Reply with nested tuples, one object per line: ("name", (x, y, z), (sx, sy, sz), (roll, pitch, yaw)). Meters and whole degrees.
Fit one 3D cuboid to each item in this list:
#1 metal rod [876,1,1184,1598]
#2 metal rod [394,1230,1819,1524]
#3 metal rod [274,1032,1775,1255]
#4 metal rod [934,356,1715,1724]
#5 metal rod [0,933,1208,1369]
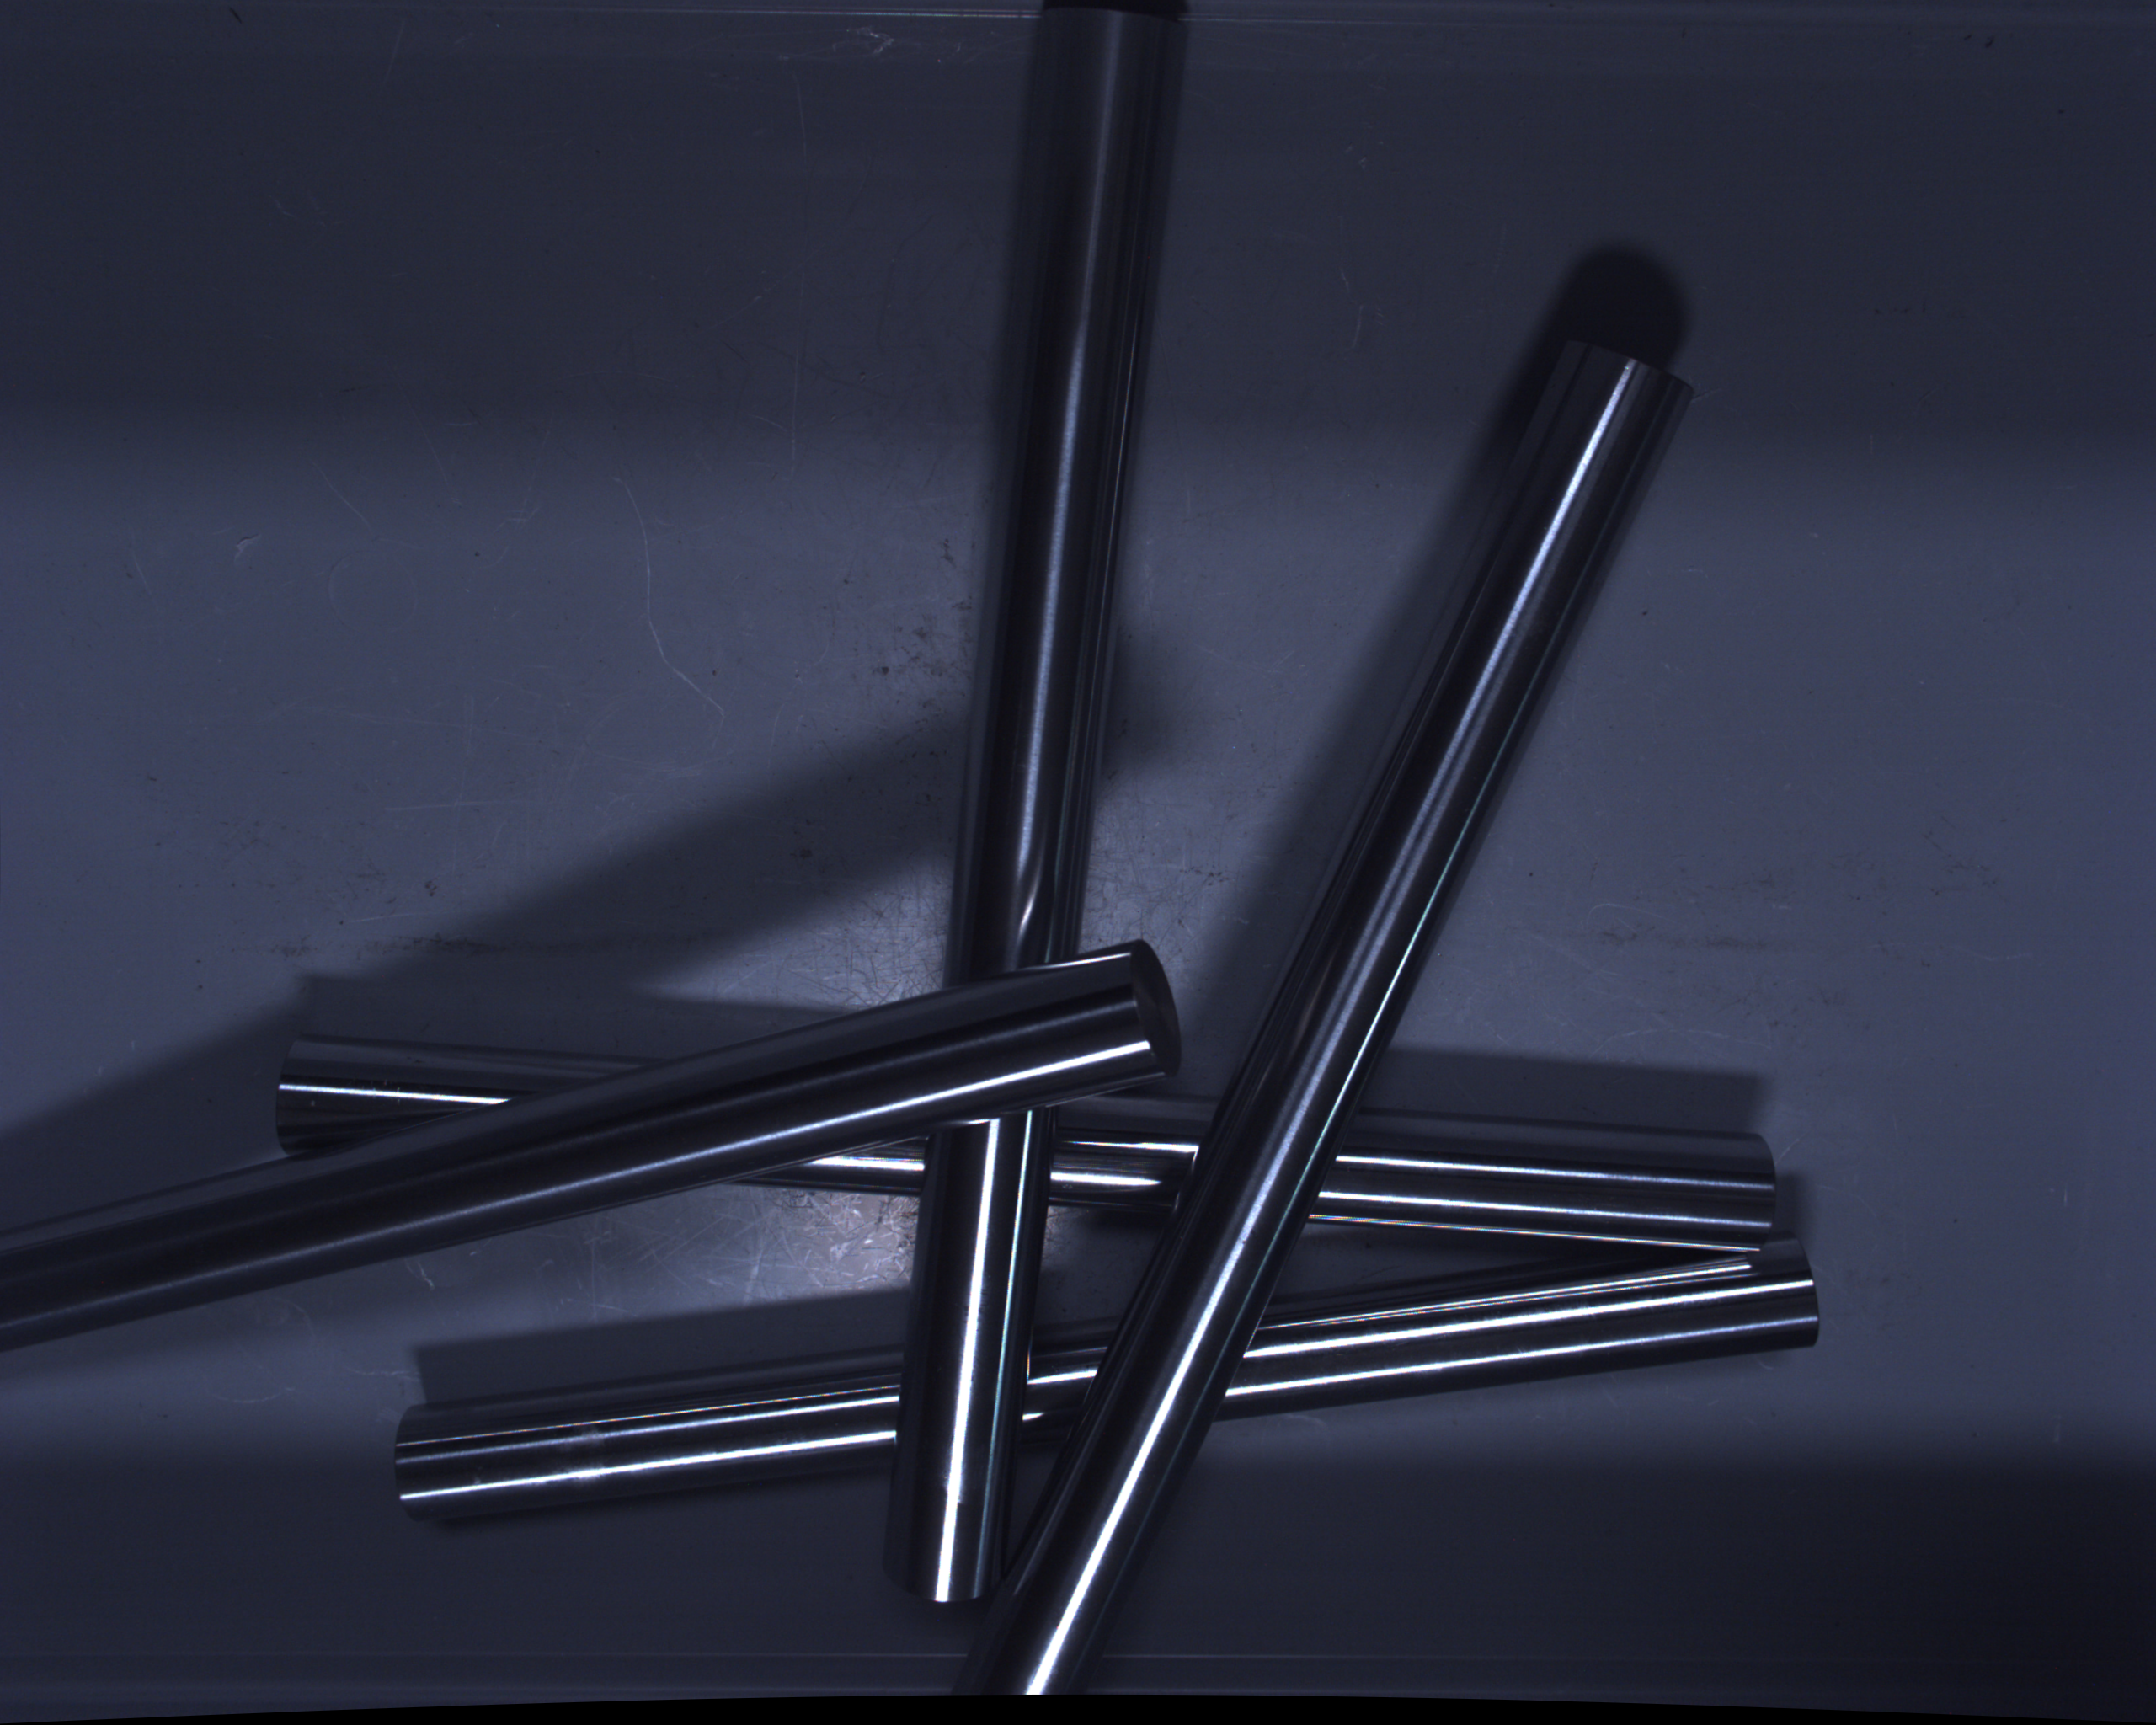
("metal rod", (-0.012, -0.001, 0.391), (0.025, 0.025, 0.298), (6, 104, -3))
("metal rod", (0.005, 0.111, 0.451), (0.302, 0.025, 0.025), (-8, 110, 2))
("metal rod", (-0.009, 0.058, 0.431), (0.302, 0.025, 0.025), (4, 110, -2))
("metal rod", (0.043, 0.046, 0.406), (0.025, 0.025, 0.298), (23, 100, -9))
("metal rod", (-0.123, 0.064, 0.405), (0.301, 0.025, 0.025), (-15, 110, 11))
